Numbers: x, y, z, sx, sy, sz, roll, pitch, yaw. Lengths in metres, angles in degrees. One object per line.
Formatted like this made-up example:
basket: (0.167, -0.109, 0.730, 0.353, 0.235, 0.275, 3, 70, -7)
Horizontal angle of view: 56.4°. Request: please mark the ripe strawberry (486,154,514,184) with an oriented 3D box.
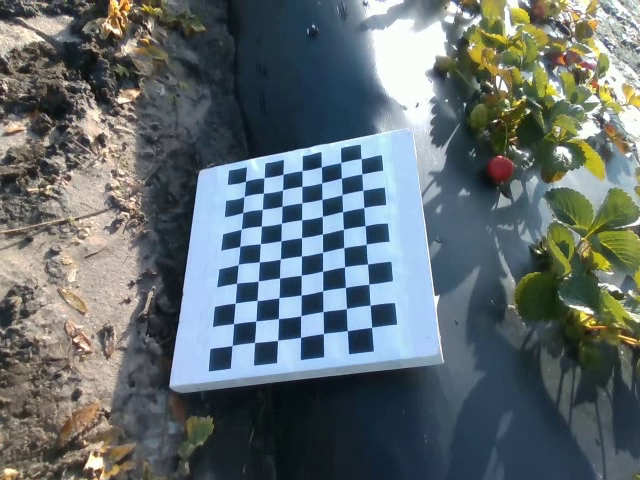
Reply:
ripe strawberry: (0.202, -0.077, 0.670, 0.030, 0.033, 0.044, 16, 32, 30)
